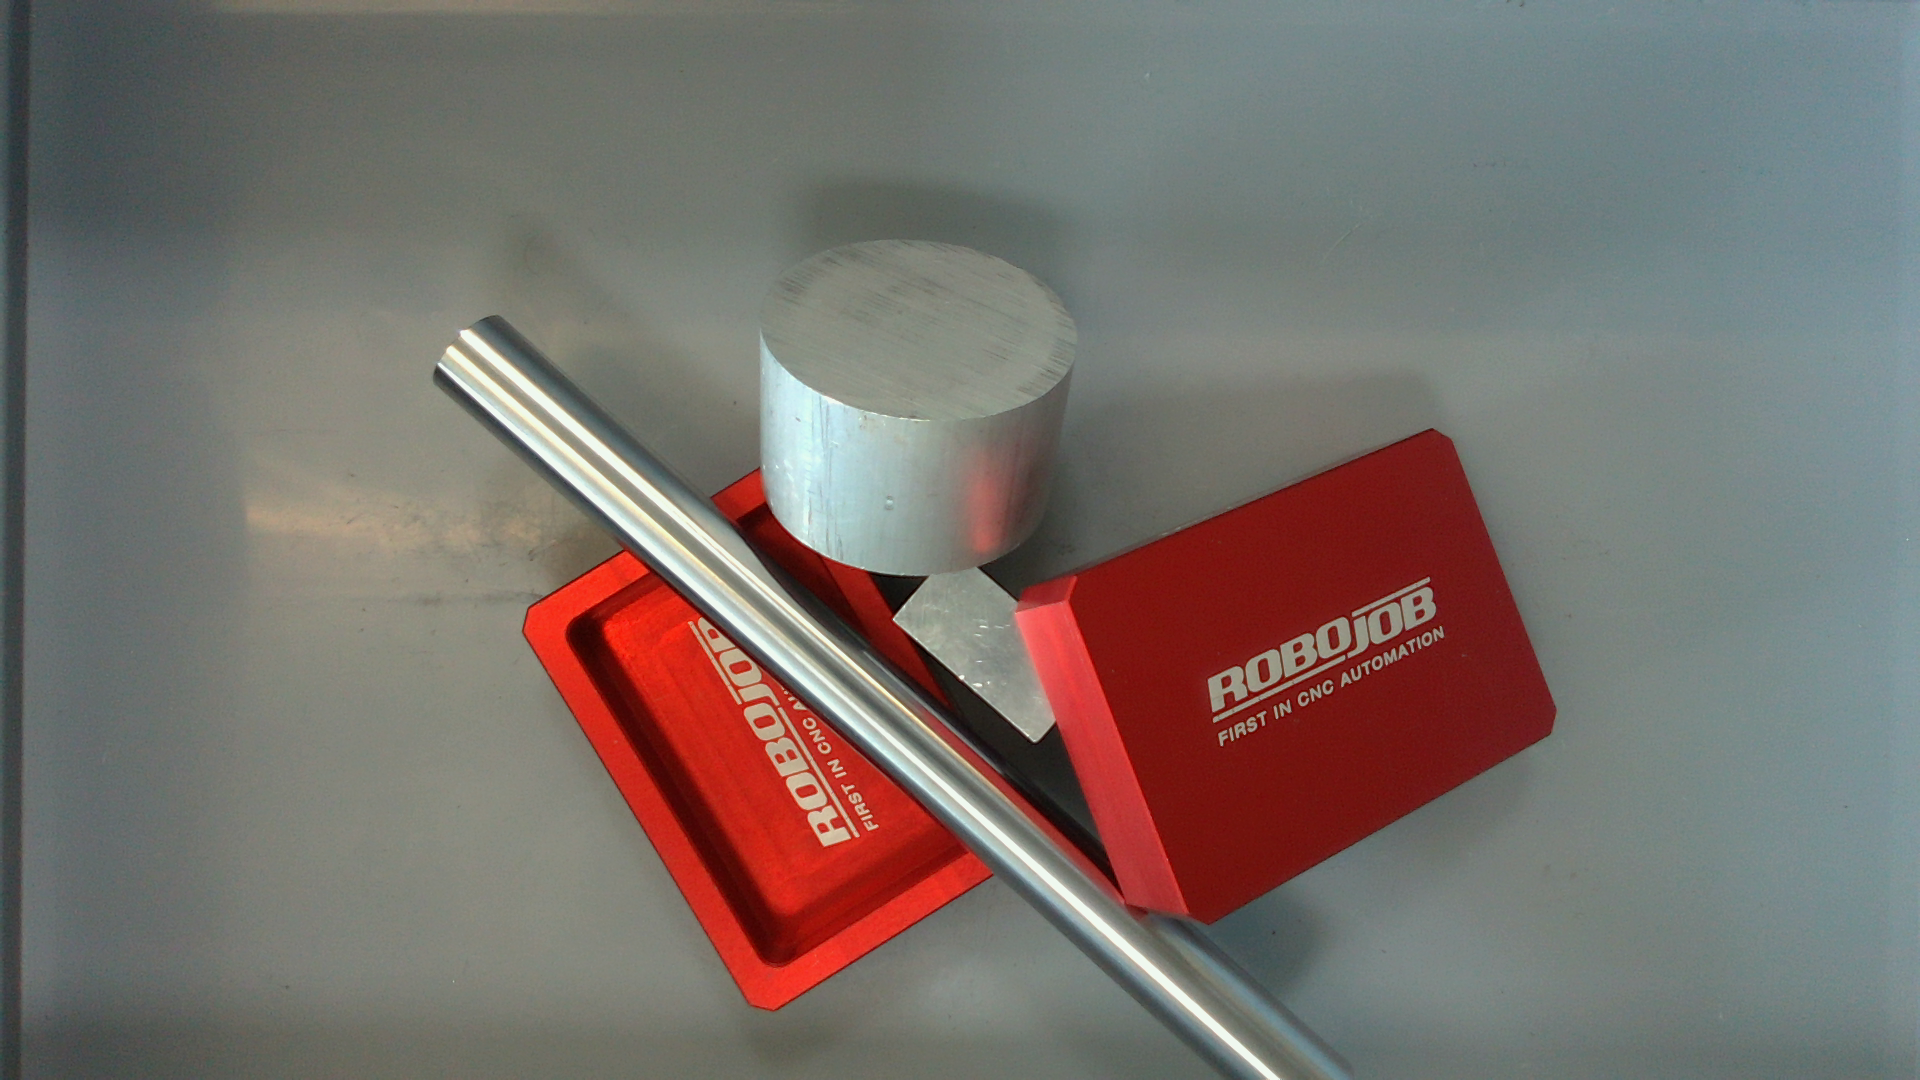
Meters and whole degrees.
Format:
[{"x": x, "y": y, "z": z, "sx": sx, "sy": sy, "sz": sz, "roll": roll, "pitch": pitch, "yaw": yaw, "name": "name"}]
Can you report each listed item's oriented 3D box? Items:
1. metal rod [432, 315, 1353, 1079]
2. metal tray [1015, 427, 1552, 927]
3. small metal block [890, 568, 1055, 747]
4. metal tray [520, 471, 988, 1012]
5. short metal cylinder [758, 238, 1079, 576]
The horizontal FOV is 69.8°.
[{"x": -0.017, "y": 0.049, "z": 0.364, "sx": 0.300, "sy": 0.025, "sz": 0.025, "roll": 41, "pitch": 90, "yaw": -1, "name": "metal rod"}, {"x": 0.089, "y": 0.033, "z": 0.367, "sx": 0.130, "sy": 0.030, "sz": 0.090, "roll": -21, "pitch": 90, "yaw": -25, "name": "metal tray"}, {"x": 0.009, "y": 0.028, "z": 0.381, "sx": 0.050, "sy": 0.050, "sz": 0.025, "roll": 41, "pitch": 90, "yaw": 0, "name": "small metal block"}, {"x": -0.051, "y": 0.053, "z": 0.391, "sx": 0.090, "sy": 0.030, "sz": 0.130, "roll": -32, "pitch": 90, "yaw": 0, "name": "metal tray"}, {"x": -0.012, "y": -0.036, "z": 0.360, "sx": 0.080, "sy": 0.080, "sz": 0.050, "roll": 8, "pitch": 132, "yaw": 0, "name": "short metal cylinder"}]
